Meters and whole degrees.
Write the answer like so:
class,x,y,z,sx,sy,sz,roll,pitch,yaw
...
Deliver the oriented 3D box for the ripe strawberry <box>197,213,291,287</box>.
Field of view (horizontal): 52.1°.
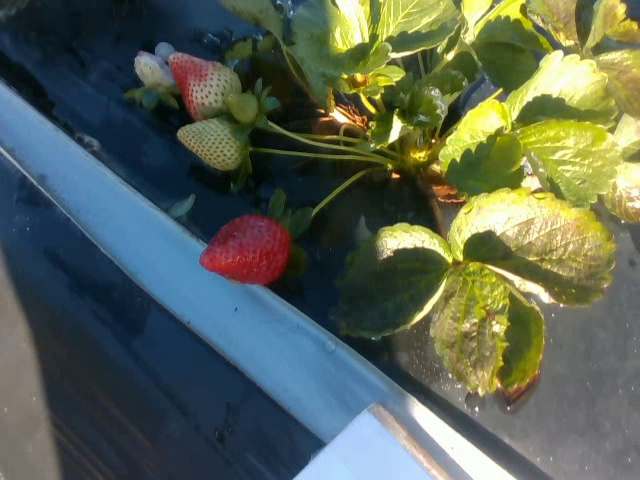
class,x,y,z,sx,sy,sz,roll,pitch,yaw
ripe strawberry,-0.032,0.005,0.253,0.036,0.038,0.045,44,24,22
